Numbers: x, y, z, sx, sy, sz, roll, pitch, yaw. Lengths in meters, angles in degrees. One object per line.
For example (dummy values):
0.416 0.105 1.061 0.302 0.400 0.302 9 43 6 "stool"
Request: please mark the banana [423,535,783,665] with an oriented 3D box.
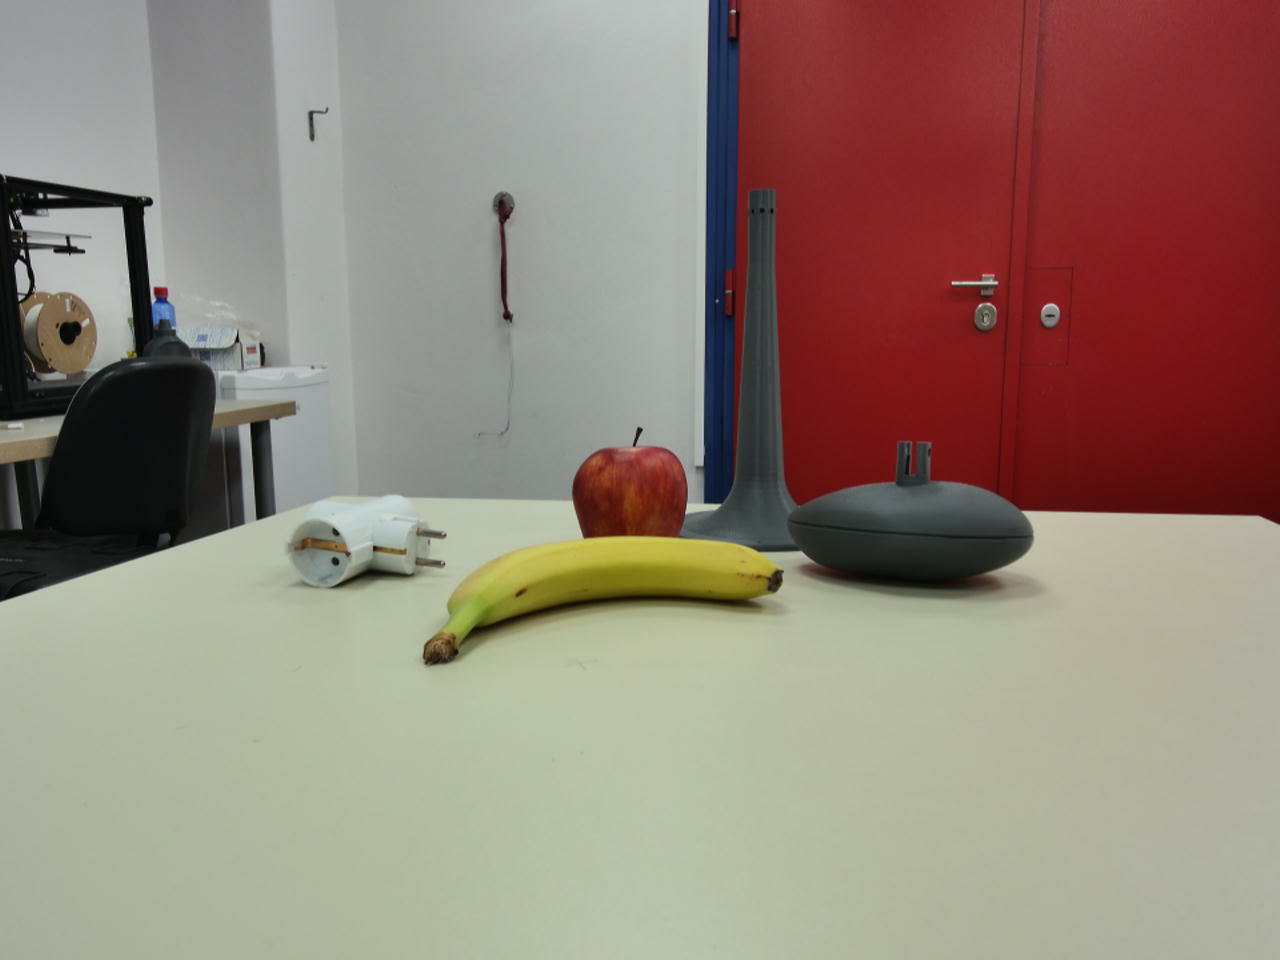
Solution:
-0.027 0.055 0.535 0.196 0.041 0.094 -3 7 -24 "banana"
